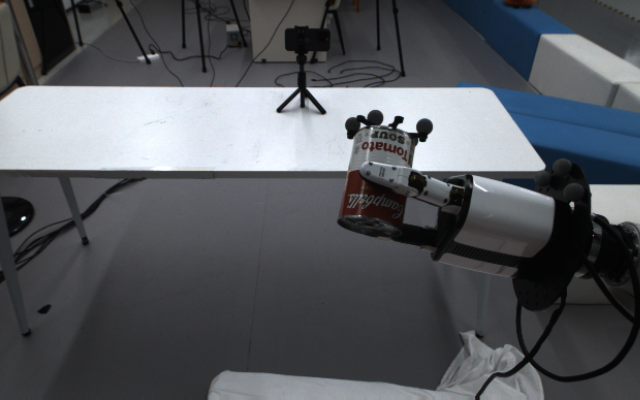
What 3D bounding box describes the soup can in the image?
[{"bbox_3d":[0.062,-0.020,0.511,0.067,0.067,0.101,8,74,9],"label":"soup can"}]
